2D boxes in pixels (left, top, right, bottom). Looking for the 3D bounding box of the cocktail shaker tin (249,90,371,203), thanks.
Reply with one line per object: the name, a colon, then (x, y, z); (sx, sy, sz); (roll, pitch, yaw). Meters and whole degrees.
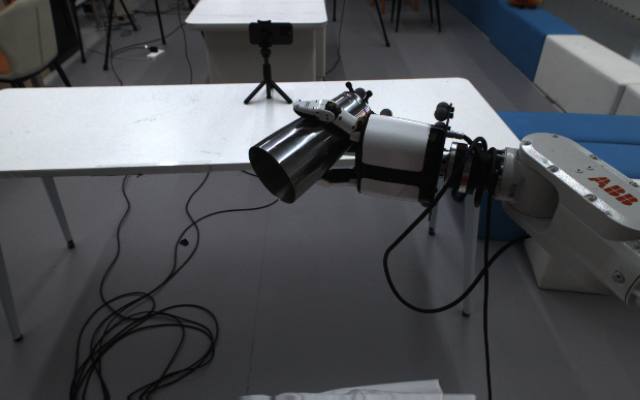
cocktail shaker tin: (-0.005, -0.086, 0.677); (0.170, 0.093, 0.093); (-38, 50, -24)
